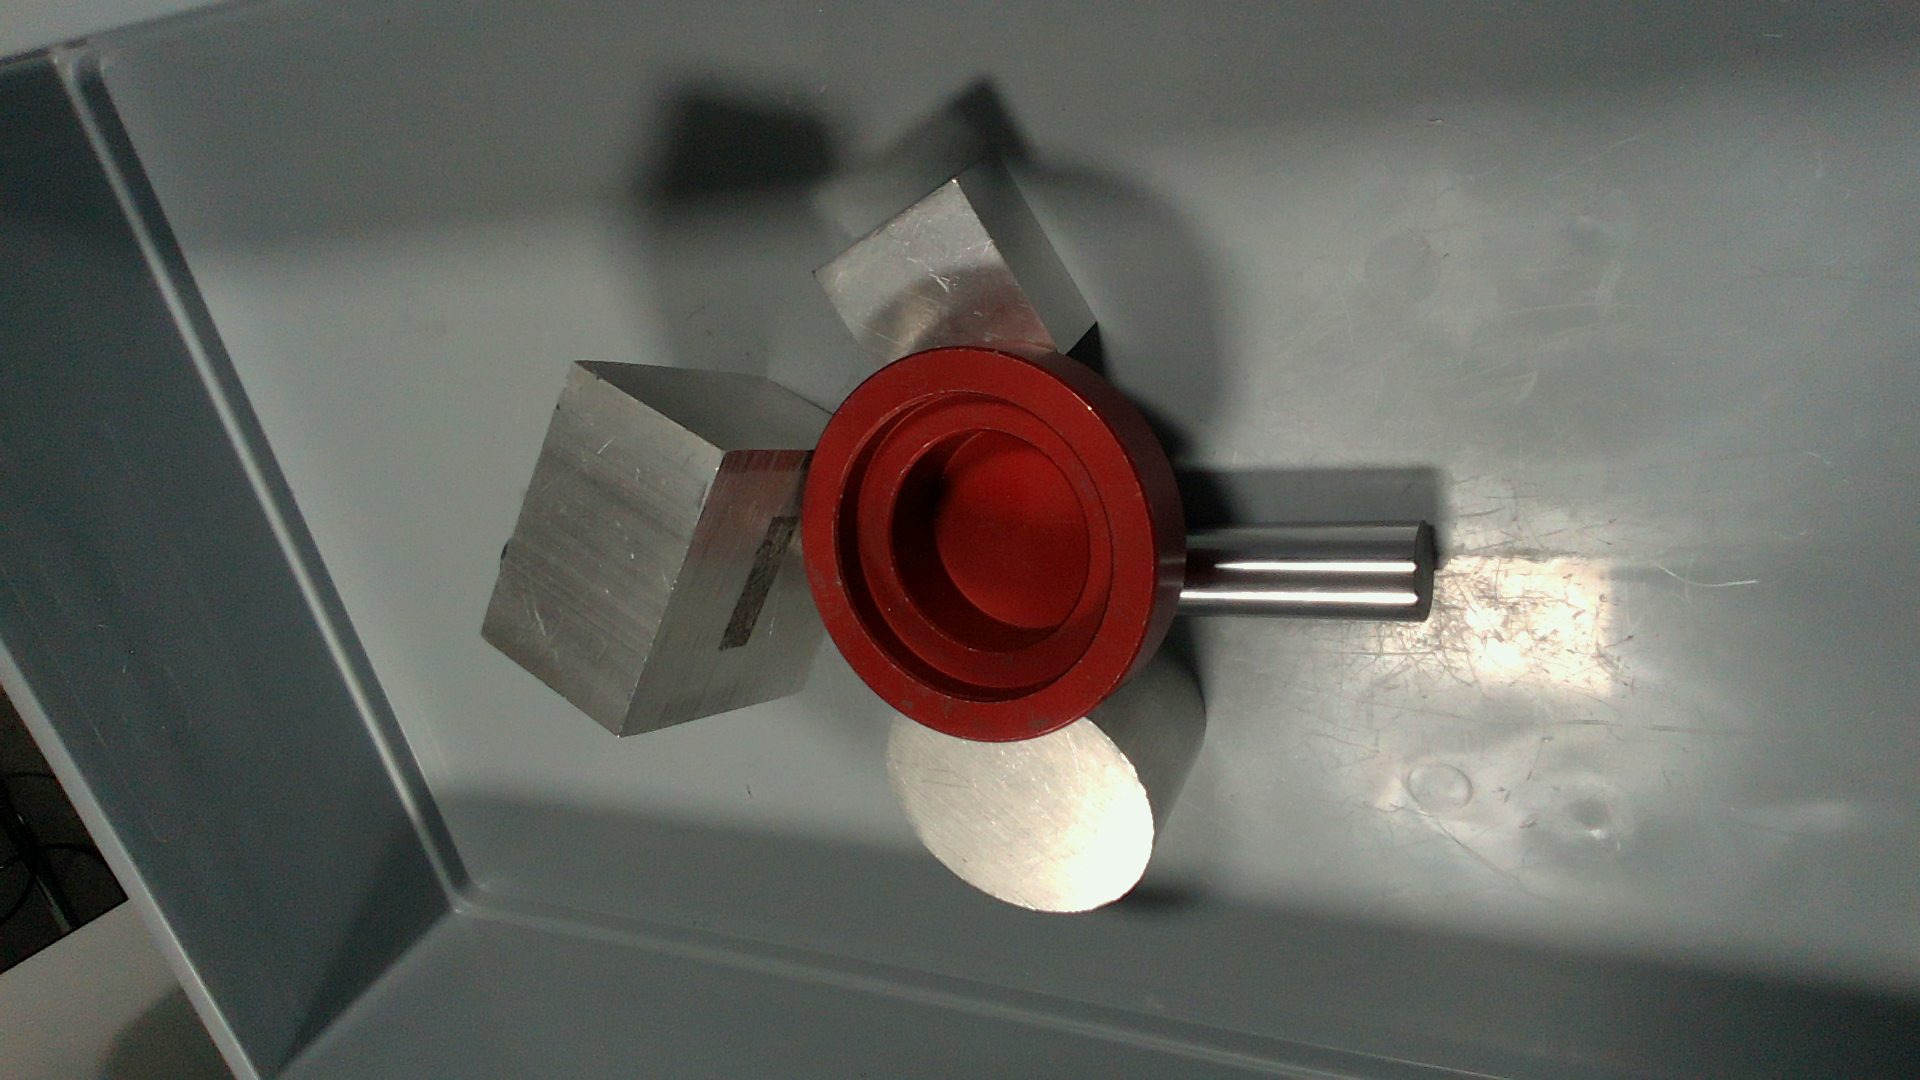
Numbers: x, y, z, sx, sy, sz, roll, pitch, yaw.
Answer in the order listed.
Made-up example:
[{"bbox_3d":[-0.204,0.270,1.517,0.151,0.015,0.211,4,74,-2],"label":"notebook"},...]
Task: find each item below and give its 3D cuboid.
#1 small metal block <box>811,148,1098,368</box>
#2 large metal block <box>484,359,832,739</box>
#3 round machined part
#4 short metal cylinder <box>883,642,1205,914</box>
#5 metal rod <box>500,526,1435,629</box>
[{"bbox_3d":[-0.001,-0.063,0.354,0.050,0.025,0.050,-23,106,36],"label":"small metal block"},{"bbox_3d":[-0.071,0.000,0.375,0.050,0.080,0.080,29,106,24],"label":"large metal block"},{"bbox_3d":[0.011,-0.001,0.349,0.098,0.042,0.098,6,104,27],"label":"round machined part"},{"bbox_3d":[0.025,0.060,0.398,0.080,0.050,0.080,13,124,21],"label":"short metal cylinder"},{"bbox_3d":[-0.018,0.010,0.405,0.299,0.025,0.025,0,118,28],"label":"metal rod"}]
